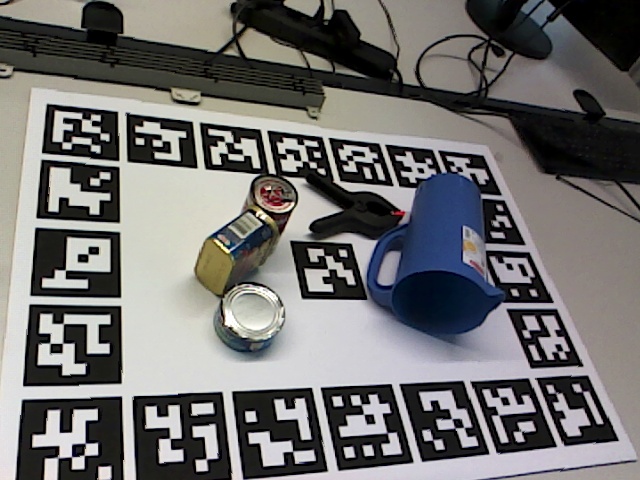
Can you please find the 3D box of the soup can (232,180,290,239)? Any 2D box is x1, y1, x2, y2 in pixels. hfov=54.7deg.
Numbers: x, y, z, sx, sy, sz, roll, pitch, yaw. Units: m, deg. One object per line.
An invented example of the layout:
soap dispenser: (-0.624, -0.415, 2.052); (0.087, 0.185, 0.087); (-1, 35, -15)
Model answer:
soup can: (-0.088, -0.026, 0.872); (0.067, 0.102, 0.068); (10, 53, -14)

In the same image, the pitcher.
pitcher: (0.177, 0.018, 0.926); (0.189, 0.133, 0.243); (5, 41, 8)

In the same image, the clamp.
clamp: (0.032, -0.042, 0.993); (0.164, 0.036, 0.122); (7, 47, -23)

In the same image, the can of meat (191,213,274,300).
can of meat: (-0.117, 0.024, 0.812); (0.058, 0.102, 0.083); (45, 53, 13)

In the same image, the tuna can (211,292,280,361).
tuna can: (-0.097, 0.112, 0.800); (0.085, 0.034, 0.086); (12, 52, -16)
